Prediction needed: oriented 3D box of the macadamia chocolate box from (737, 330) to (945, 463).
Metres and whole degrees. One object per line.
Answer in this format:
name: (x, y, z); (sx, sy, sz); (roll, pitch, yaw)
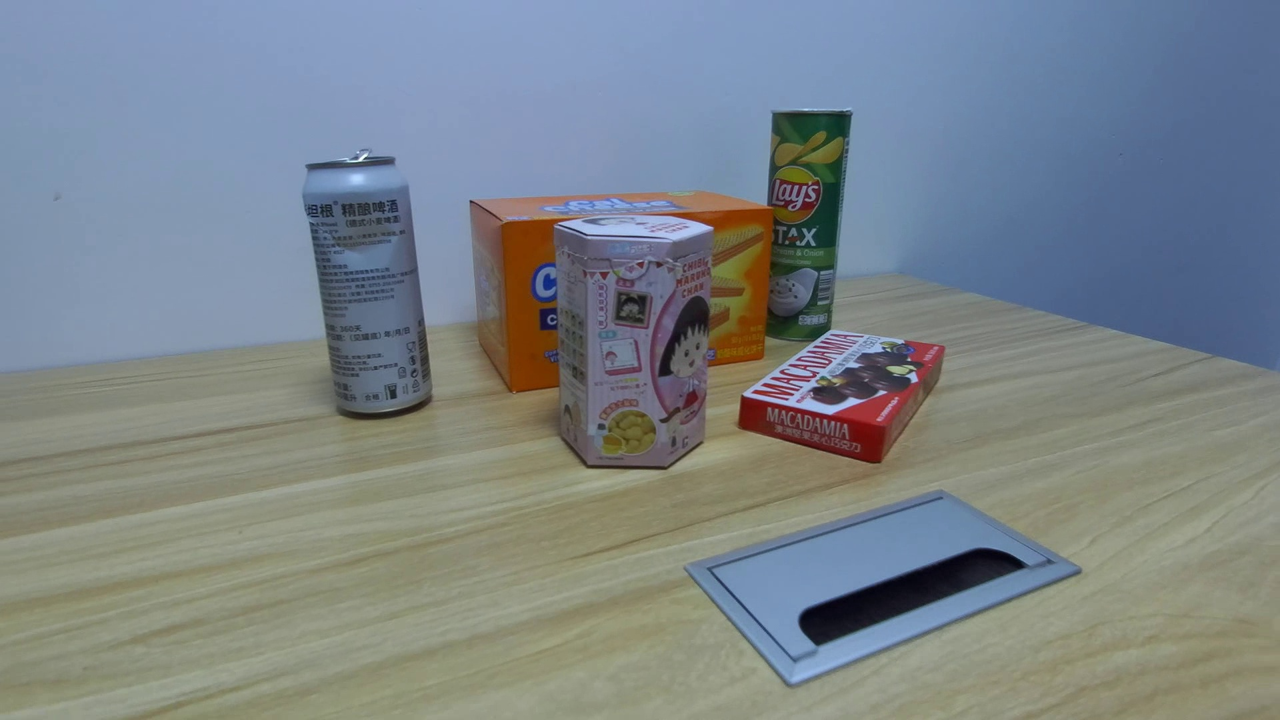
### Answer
macadamia chocolate box: (0.150, 0.018, 0.503); (0.095, 0.027, 0.178); (11, 22, 32)

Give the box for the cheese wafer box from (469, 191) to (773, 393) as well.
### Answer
cheese wafer box: (-0.019, -0.068, 0.604); (0.222, 0.129, 0.147); (-7, 20, -20)

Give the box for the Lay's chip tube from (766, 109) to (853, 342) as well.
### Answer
Lay's chip tube: (0.148, -0.121, 0.640); (0.071, 0.202, 0.071); (0, 18, 0)

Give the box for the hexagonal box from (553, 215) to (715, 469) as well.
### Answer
hexagonal box: (-0.002, -0.012, 0.421); (0.083, 0.136, 0.091); (12, 21, 31)

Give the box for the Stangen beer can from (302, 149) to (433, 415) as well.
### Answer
Stangen beer can: (-0.183, -0.050, 0.474); (0.070, 0.173, 0.069); (-15, 23, -37)
